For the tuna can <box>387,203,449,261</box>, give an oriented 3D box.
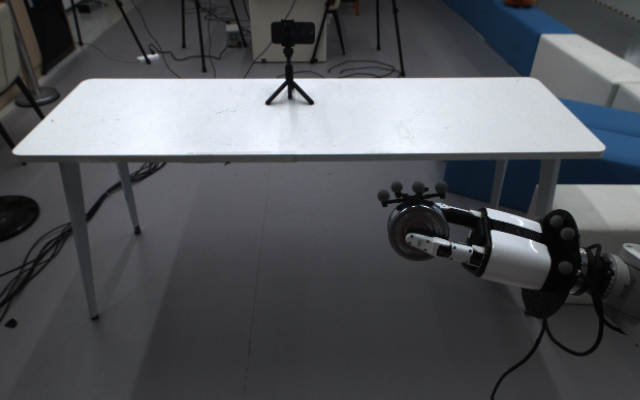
[{"bbox_3d":[0.142,0.041,0.690,0.085,0.085,0.034,6,18,5],"label":"tuna can"}]
